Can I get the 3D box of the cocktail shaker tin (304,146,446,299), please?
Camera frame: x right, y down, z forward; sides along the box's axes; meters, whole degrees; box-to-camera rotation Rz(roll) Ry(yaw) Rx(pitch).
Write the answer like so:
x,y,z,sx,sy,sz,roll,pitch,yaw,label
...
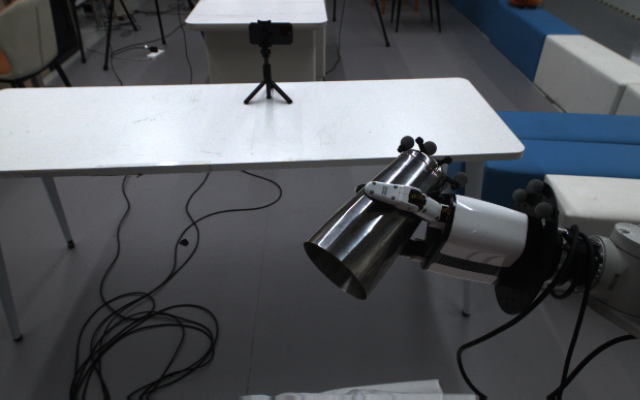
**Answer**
x,y,z,sx,sy,sz,roll,pitch,yaw,label
0.072,0.017,0.562,0.093,0.093,0.170,32,67,35,cocktail shaker tin
